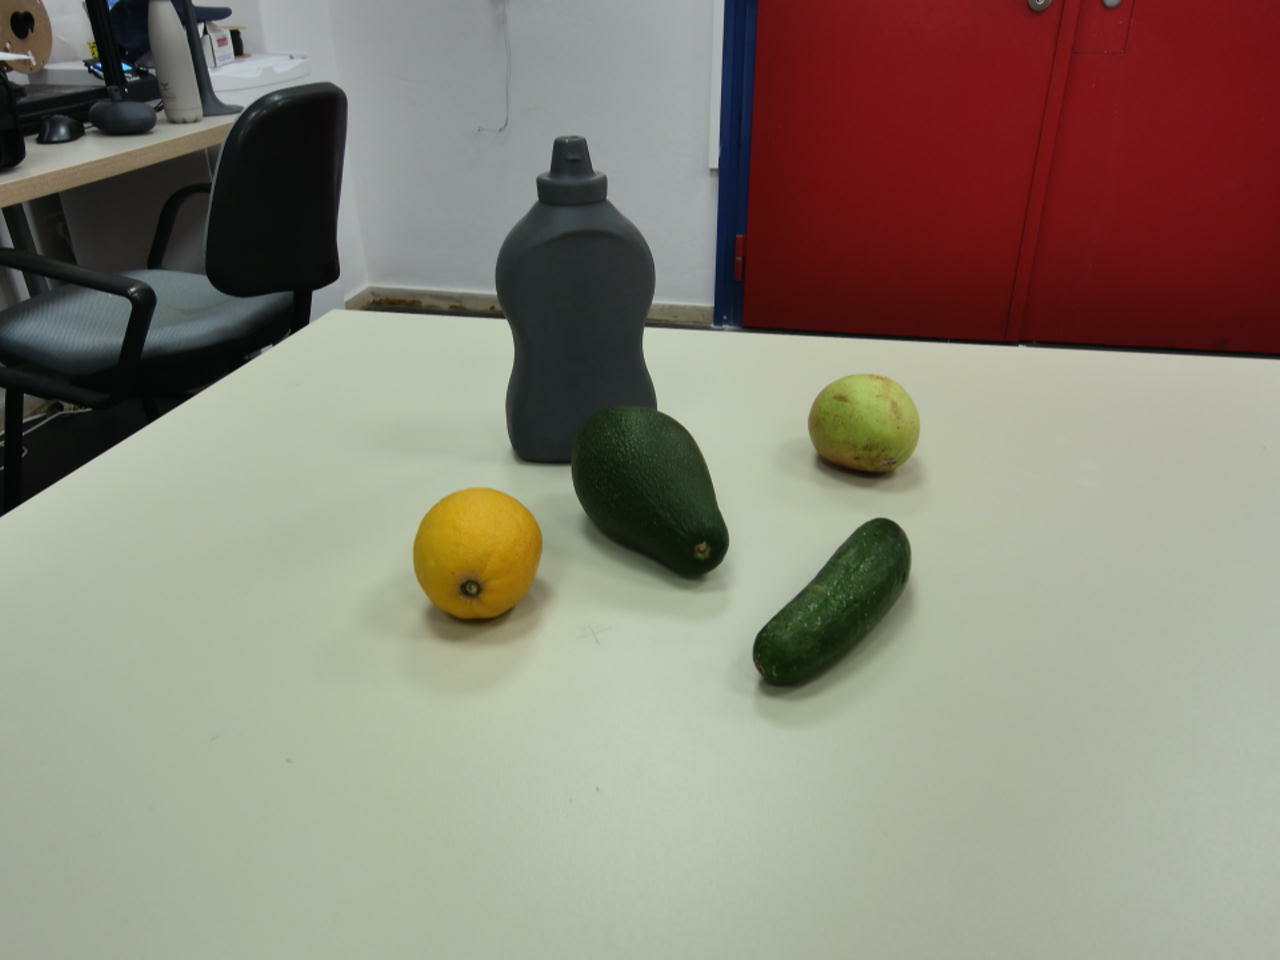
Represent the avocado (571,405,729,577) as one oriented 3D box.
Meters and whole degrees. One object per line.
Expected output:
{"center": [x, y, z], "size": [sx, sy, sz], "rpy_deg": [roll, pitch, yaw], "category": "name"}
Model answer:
{"center": [0.003, 0.003, 0.521], "size": [0.072, 0.071, 0.109], "rpy_deg": [-6, 26, -9], "category": "avocado"}
